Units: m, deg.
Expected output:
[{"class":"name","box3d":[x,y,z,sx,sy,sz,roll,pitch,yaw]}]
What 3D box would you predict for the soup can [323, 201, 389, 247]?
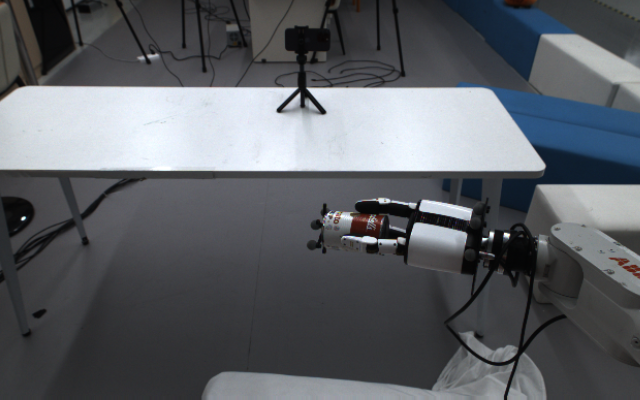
[{"class":"soup can","box3d":[0.062,0.055,0.815,0.101,0.067,0.067,5,34,18]}]
